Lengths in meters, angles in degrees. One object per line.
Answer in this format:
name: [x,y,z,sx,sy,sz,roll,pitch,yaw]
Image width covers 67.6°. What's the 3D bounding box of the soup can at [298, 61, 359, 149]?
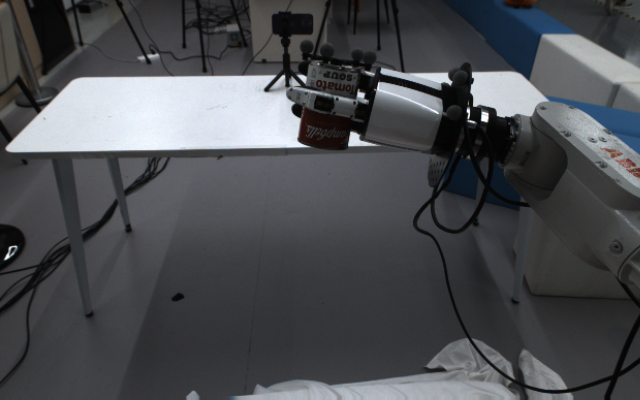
soup can: [0.012,-0.121,0.616,0.067,0.101,0.067,9,19,-3]
